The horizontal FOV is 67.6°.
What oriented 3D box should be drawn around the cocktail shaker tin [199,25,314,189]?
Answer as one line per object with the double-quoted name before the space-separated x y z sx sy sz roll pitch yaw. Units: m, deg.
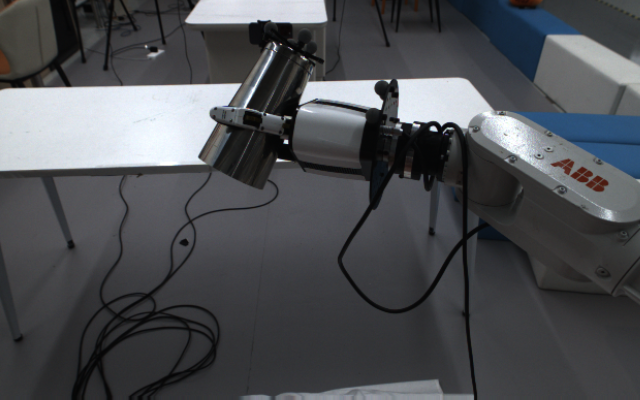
"cocktail shaker tin" -0.077 -0.110 0.619 0.093 0.170 0.093 27 2 -1
